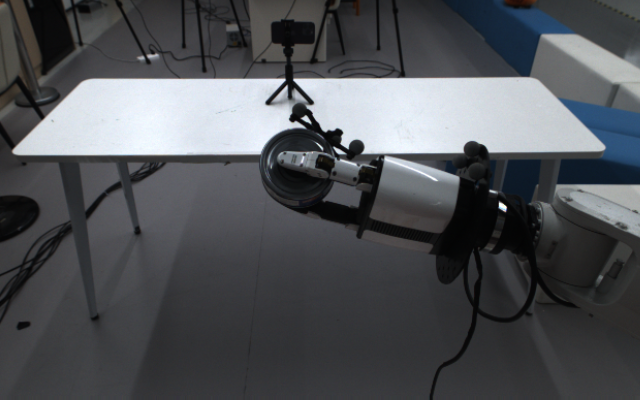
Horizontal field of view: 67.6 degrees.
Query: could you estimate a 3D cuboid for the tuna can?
[{"bbox_3d":[-0.020,-0.030,0.540,0.085,0.034,0.085,0,74,0],"label":"tuna can"}]
